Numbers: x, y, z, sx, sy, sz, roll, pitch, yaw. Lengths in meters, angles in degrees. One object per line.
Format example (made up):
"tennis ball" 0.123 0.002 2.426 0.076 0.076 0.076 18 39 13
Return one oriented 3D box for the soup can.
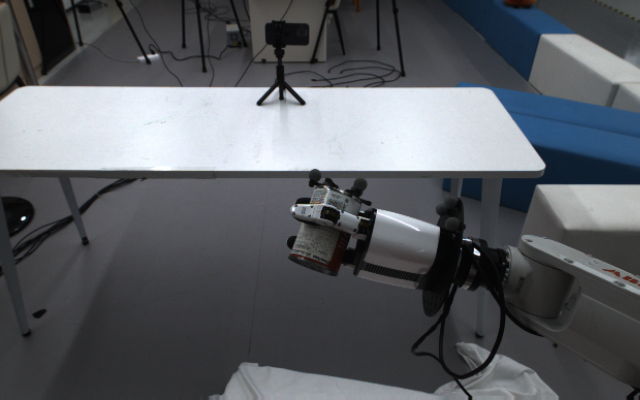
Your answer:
"soup can" 0.009 0.041 0.633 0.067 0.067 0.101 15 75 18
